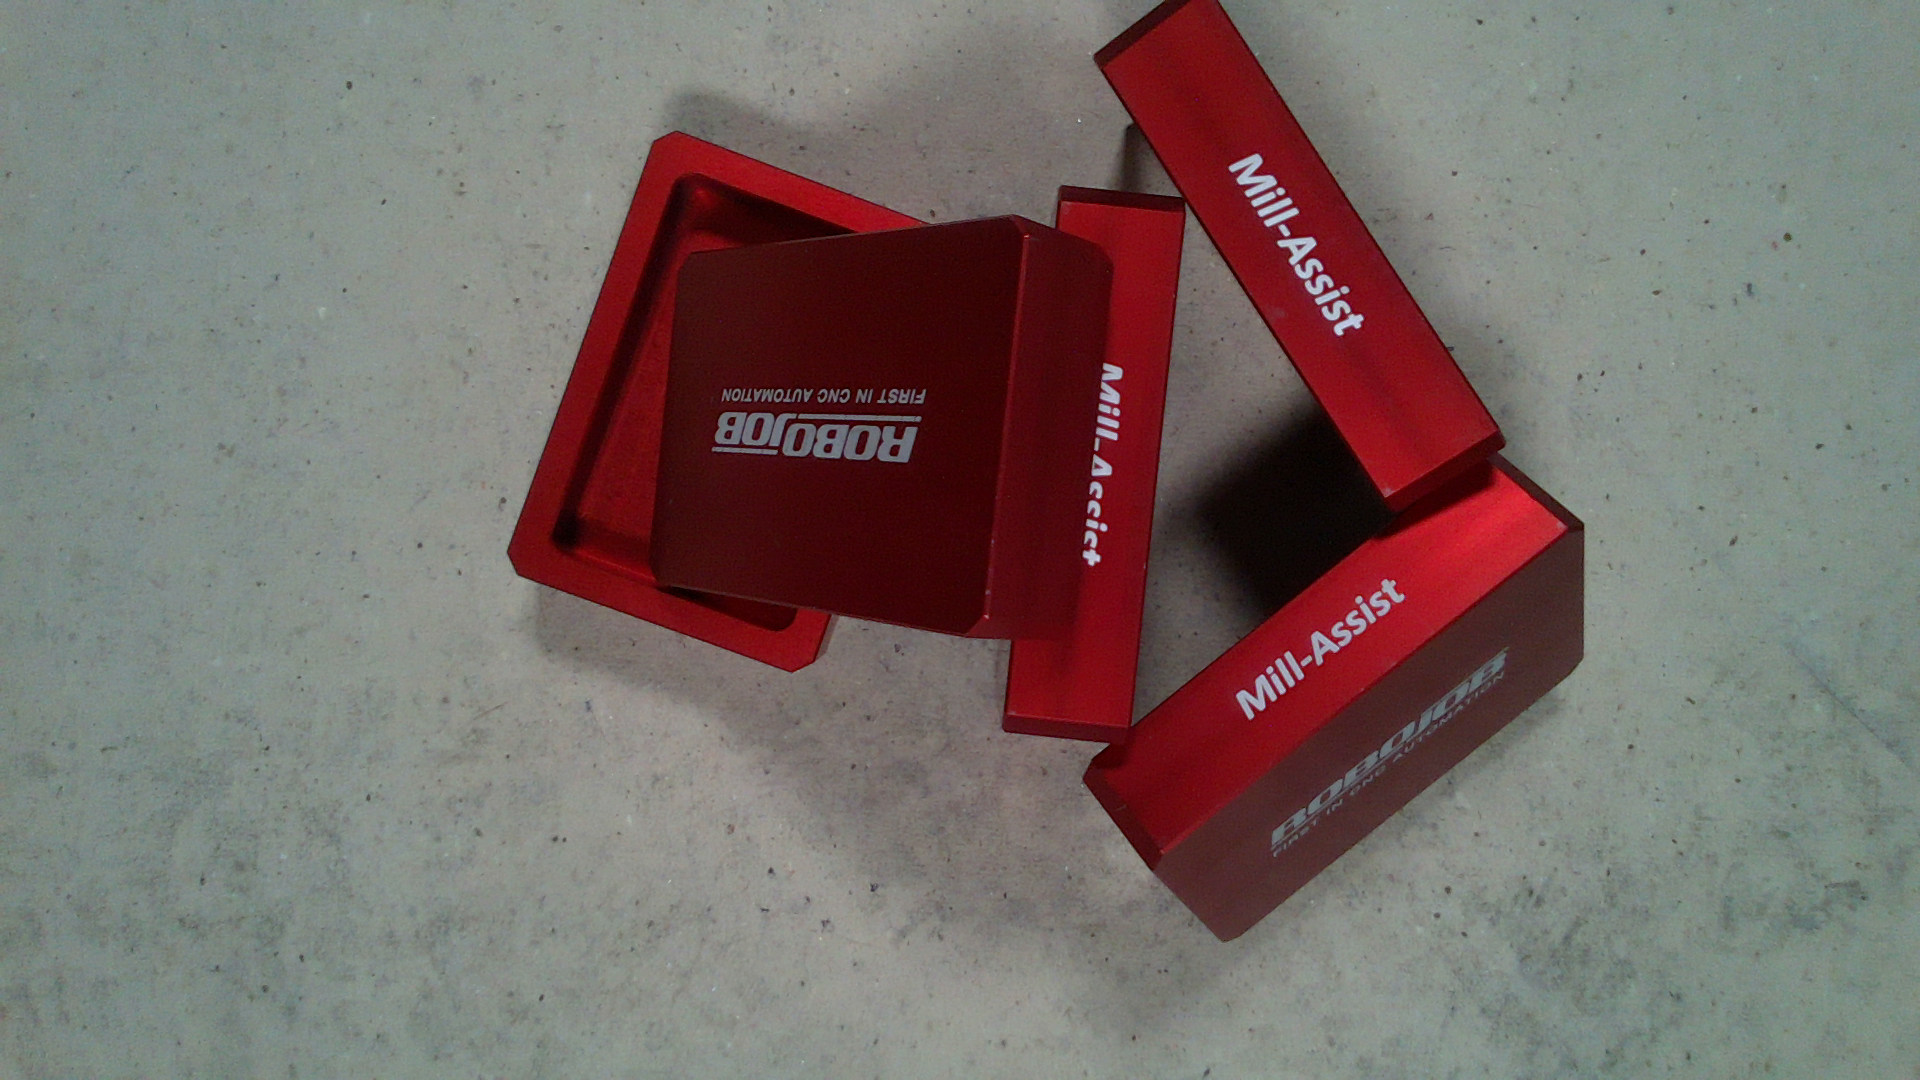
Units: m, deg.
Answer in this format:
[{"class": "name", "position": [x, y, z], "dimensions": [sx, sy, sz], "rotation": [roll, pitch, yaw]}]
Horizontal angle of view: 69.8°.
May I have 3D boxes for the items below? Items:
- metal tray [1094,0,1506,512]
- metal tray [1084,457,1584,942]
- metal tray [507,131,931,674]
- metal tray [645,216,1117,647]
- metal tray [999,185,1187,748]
[{"class": "metal tray", "position": [0.088, -0.074, 0.361], "dimensions": [0.030, 0.090, 0.130], "rotation": [-33, 90, 15]}, {"class": "metal tray", "position": [0.103, 0.046, 0.363], "dimensions": [0.130, 0.090, 0.030], "rotation": [-39, 55, 0]}, {"class": "metal tray", "position": [-0.062, -0.038, 0.393], "dimensions": [0.090, 0.030, 0.130], "rotation": [20, 90, 0]}, {"class": "metal tray", "position": [-0.025, -0.027, 0.339], "dimensions": [0.129, 0.030, 0.090], "rotation": [7, 91, 45]}, {"class": "metal tray", "position": [0.032, -0.018, 0.363], "dimensions": [0.030, 0.090, 0.130], "rotation": [6, 91, 0]}]
